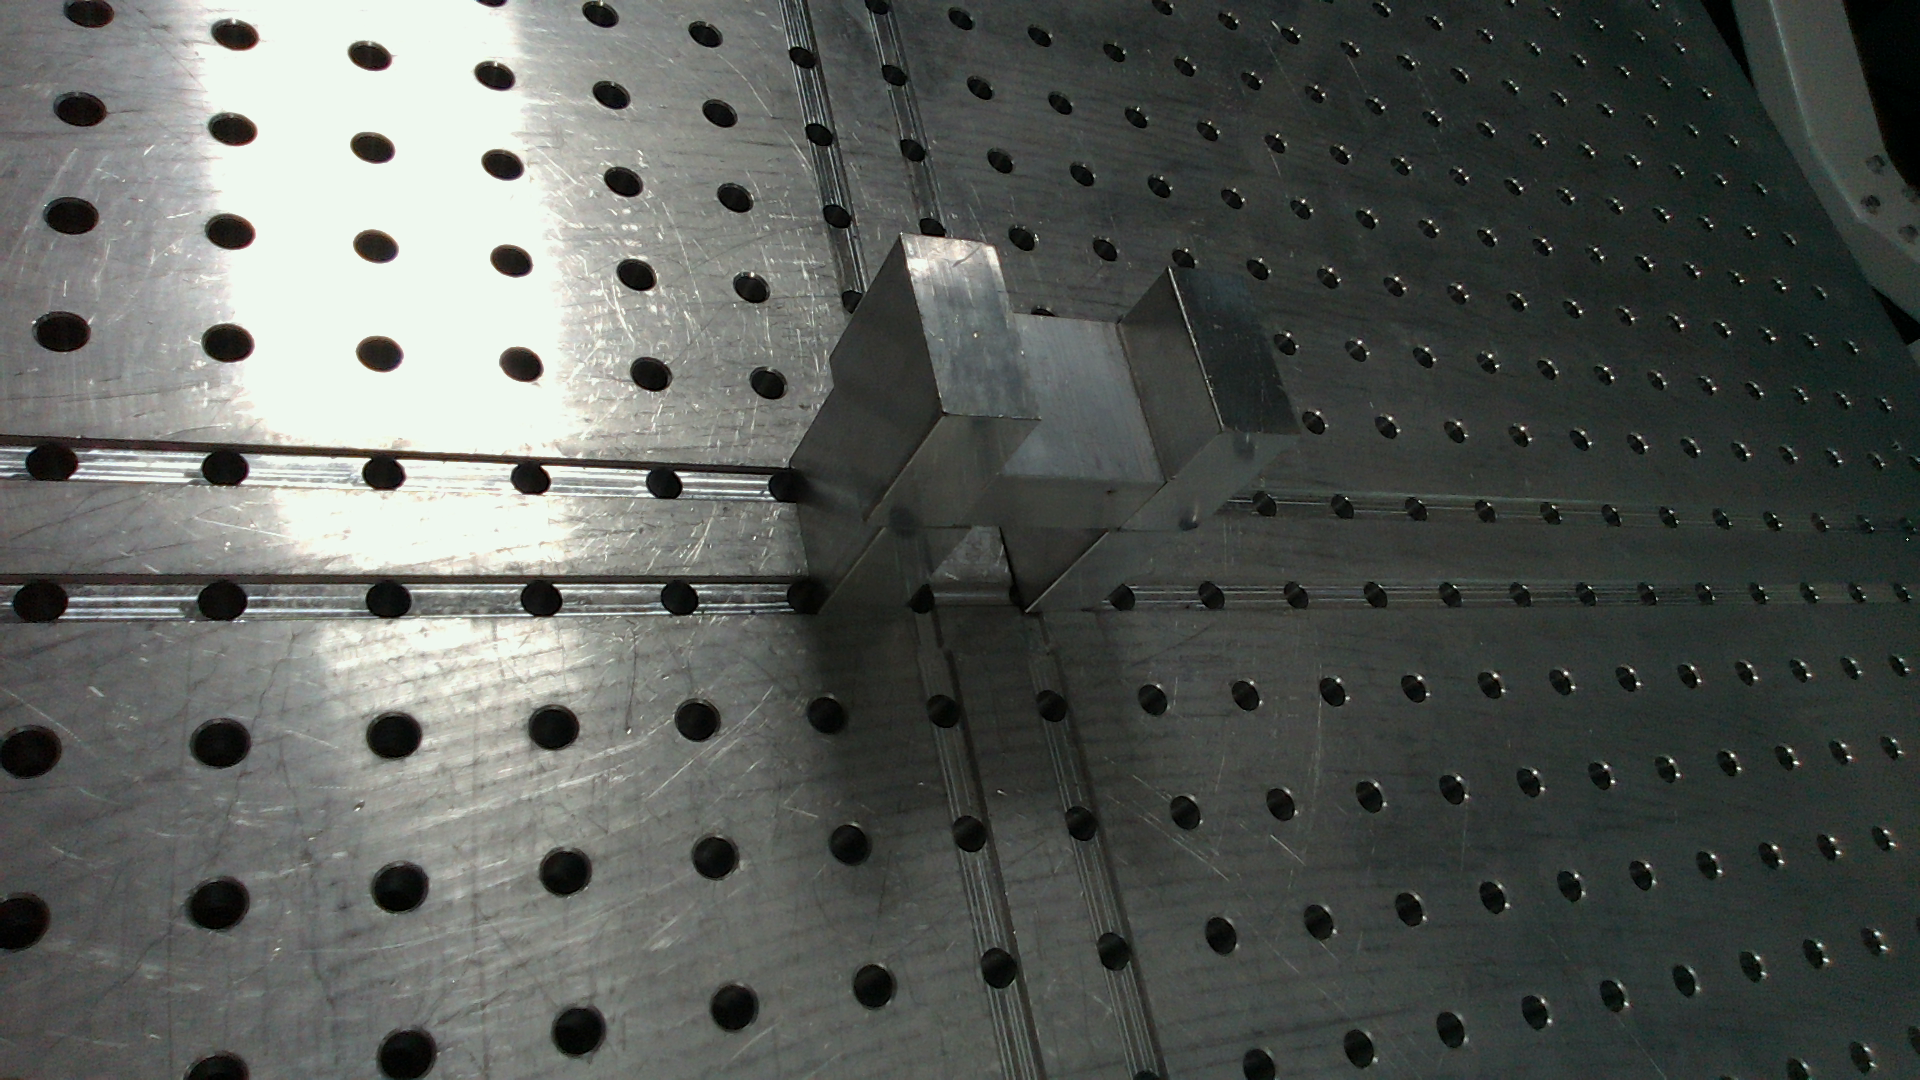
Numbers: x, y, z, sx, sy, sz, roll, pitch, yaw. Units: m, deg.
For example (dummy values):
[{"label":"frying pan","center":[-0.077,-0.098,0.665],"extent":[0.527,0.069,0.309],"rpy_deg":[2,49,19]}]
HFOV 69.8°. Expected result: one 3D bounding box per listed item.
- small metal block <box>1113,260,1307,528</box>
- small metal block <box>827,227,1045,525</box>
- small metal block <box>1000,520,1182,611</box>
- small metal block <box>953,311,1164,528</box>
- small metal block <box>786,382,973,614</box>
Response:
[{"label":"small metal block","center":[0.059,-0.037,0.365],"extent":[0.025,0.050,0.050],"rpy_deg":[0,61,-27]},{"label":"small metal block","center":[-0.008,-0.038,0.330],"extent":[0.025,0.050,0.050],"rpy_deg":[0,61,-27]},{"label":"small metal block","center":[0.034,-0.013,0.402],"extent":[0.025,0.050,0.050],"rpy_deg":[-1,62,-28]},{"label":"small metal block","center":[0.020,-0.031,0.359],"extent":[0.050,0.025,0.050],"rpy_deg":[1,61,-28]},{"label":"small metal block","center":[-0.023,-0.014,0.372],"extent":[0.025,0.050,0.050],"rpy_deg":[1,61,-28]}]
